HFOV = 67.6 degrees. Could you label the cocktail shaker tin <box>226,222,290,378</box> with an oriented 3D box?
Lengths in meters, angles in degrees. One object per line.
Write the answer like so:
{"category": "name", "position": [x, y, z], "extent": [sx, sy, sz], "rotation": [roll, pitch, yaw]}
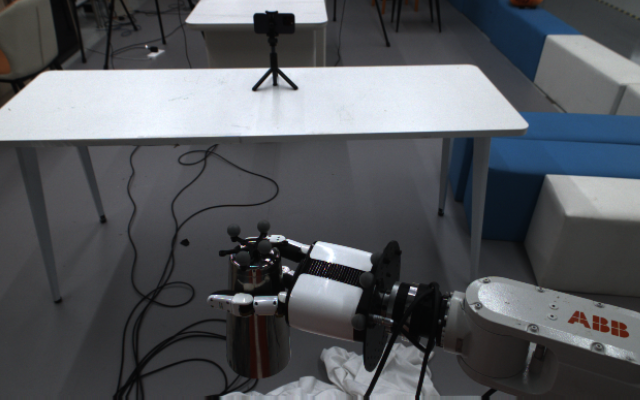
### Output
{"category": "cocktail shaker tin", "position": [-0.084, 0.145, 0.656], "extent": [0.093, 0.170, 0.093], "rotation": [1, 26, -1]}
